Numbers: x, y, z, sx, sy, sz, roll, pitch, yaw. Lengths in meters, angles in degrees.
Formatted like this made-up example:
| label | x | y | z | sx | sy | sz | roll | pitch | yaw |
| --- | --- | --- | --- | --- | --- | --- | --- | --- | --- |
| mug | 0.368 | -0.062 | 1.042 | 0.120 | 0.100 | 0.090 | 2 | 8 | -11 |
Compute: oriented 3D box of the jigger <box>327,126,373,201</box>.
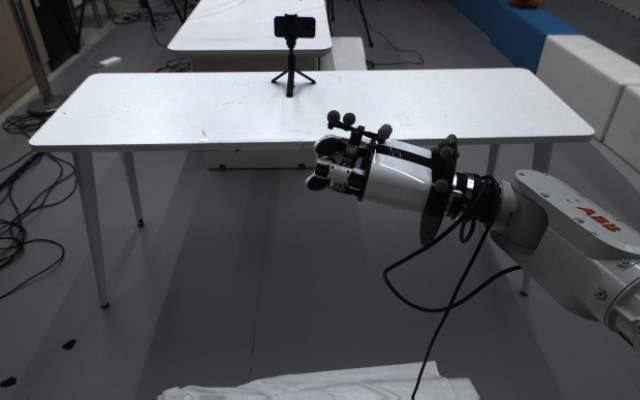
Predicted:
| label | x | y | z | sx | sy | sz | roll | pitch | yaw |
| --- | --- | --- | --- | --- | --- | --- | --- | --- | --- |
| jigger | 0.040 | -0.047 | 0.676 | 0.043 | 0.071 | 0.043 | 15 | 17 | -5 |
